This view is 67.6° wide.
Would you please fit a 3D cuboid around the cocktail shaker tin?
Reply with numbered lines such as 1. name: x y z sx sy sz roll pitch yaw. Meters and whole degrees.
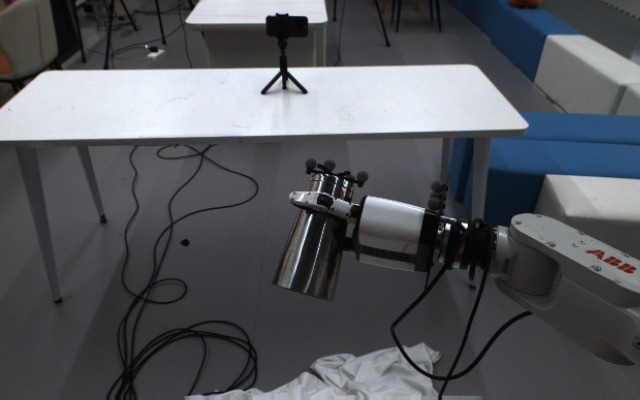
1. cocktail shaker tin: -0.001 0.050 0.703 0.093 0.093 0.170 13 77 15
